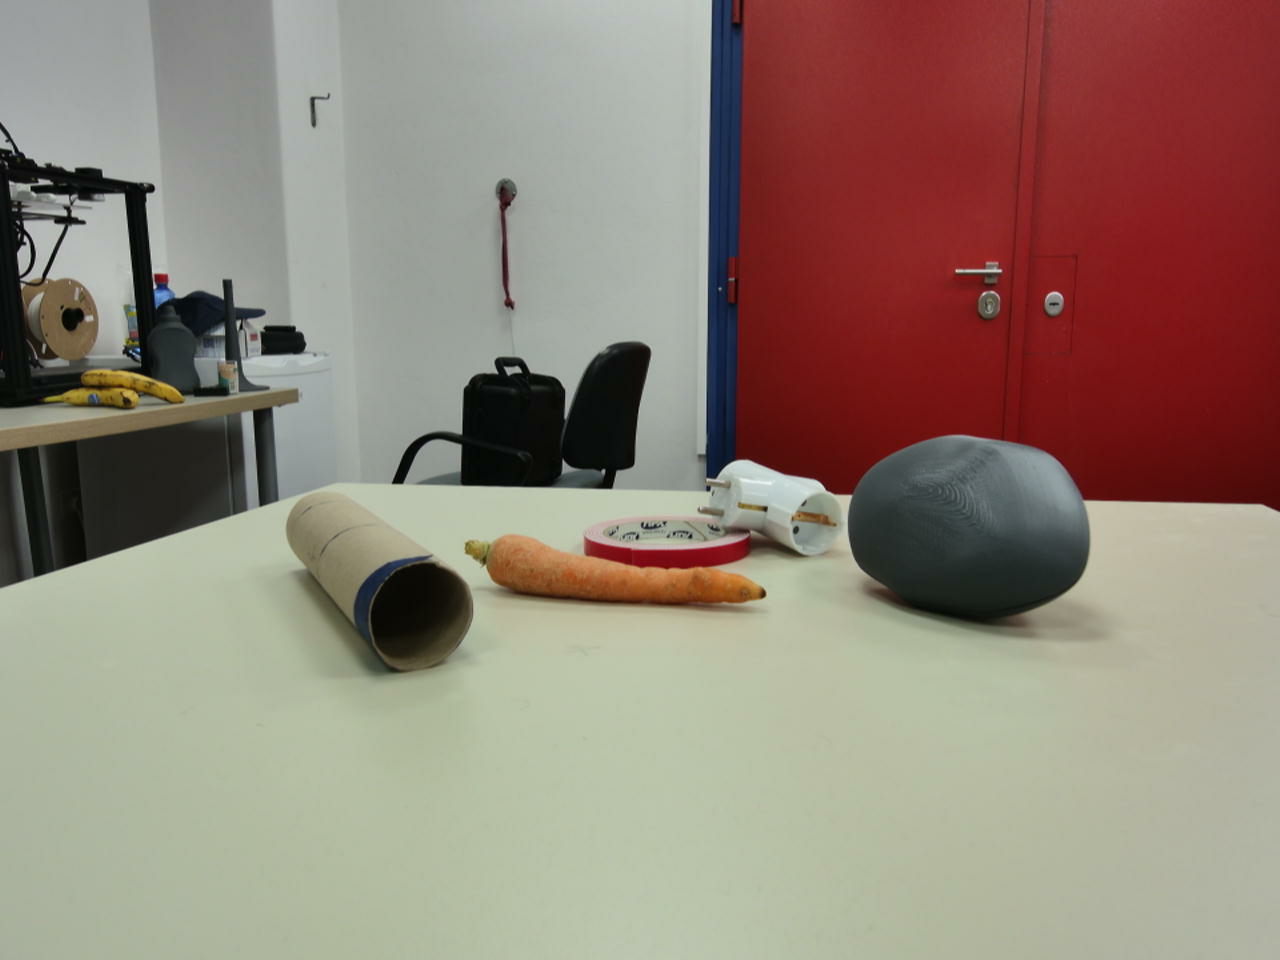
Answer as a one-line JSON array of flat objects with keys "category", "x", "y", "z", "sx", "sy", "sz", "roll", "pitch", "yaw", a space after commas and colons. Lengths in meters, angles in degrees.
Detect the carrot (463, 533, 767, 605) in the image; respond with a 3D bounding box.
[{"category": "carrot", "x": -0.018, "y": 0.049, "z": 0.536, "sx": 0.173, "sy": 0.032, "sz": 0.030, "roll": 2, "pitch": 7, "yaw": 21}]
